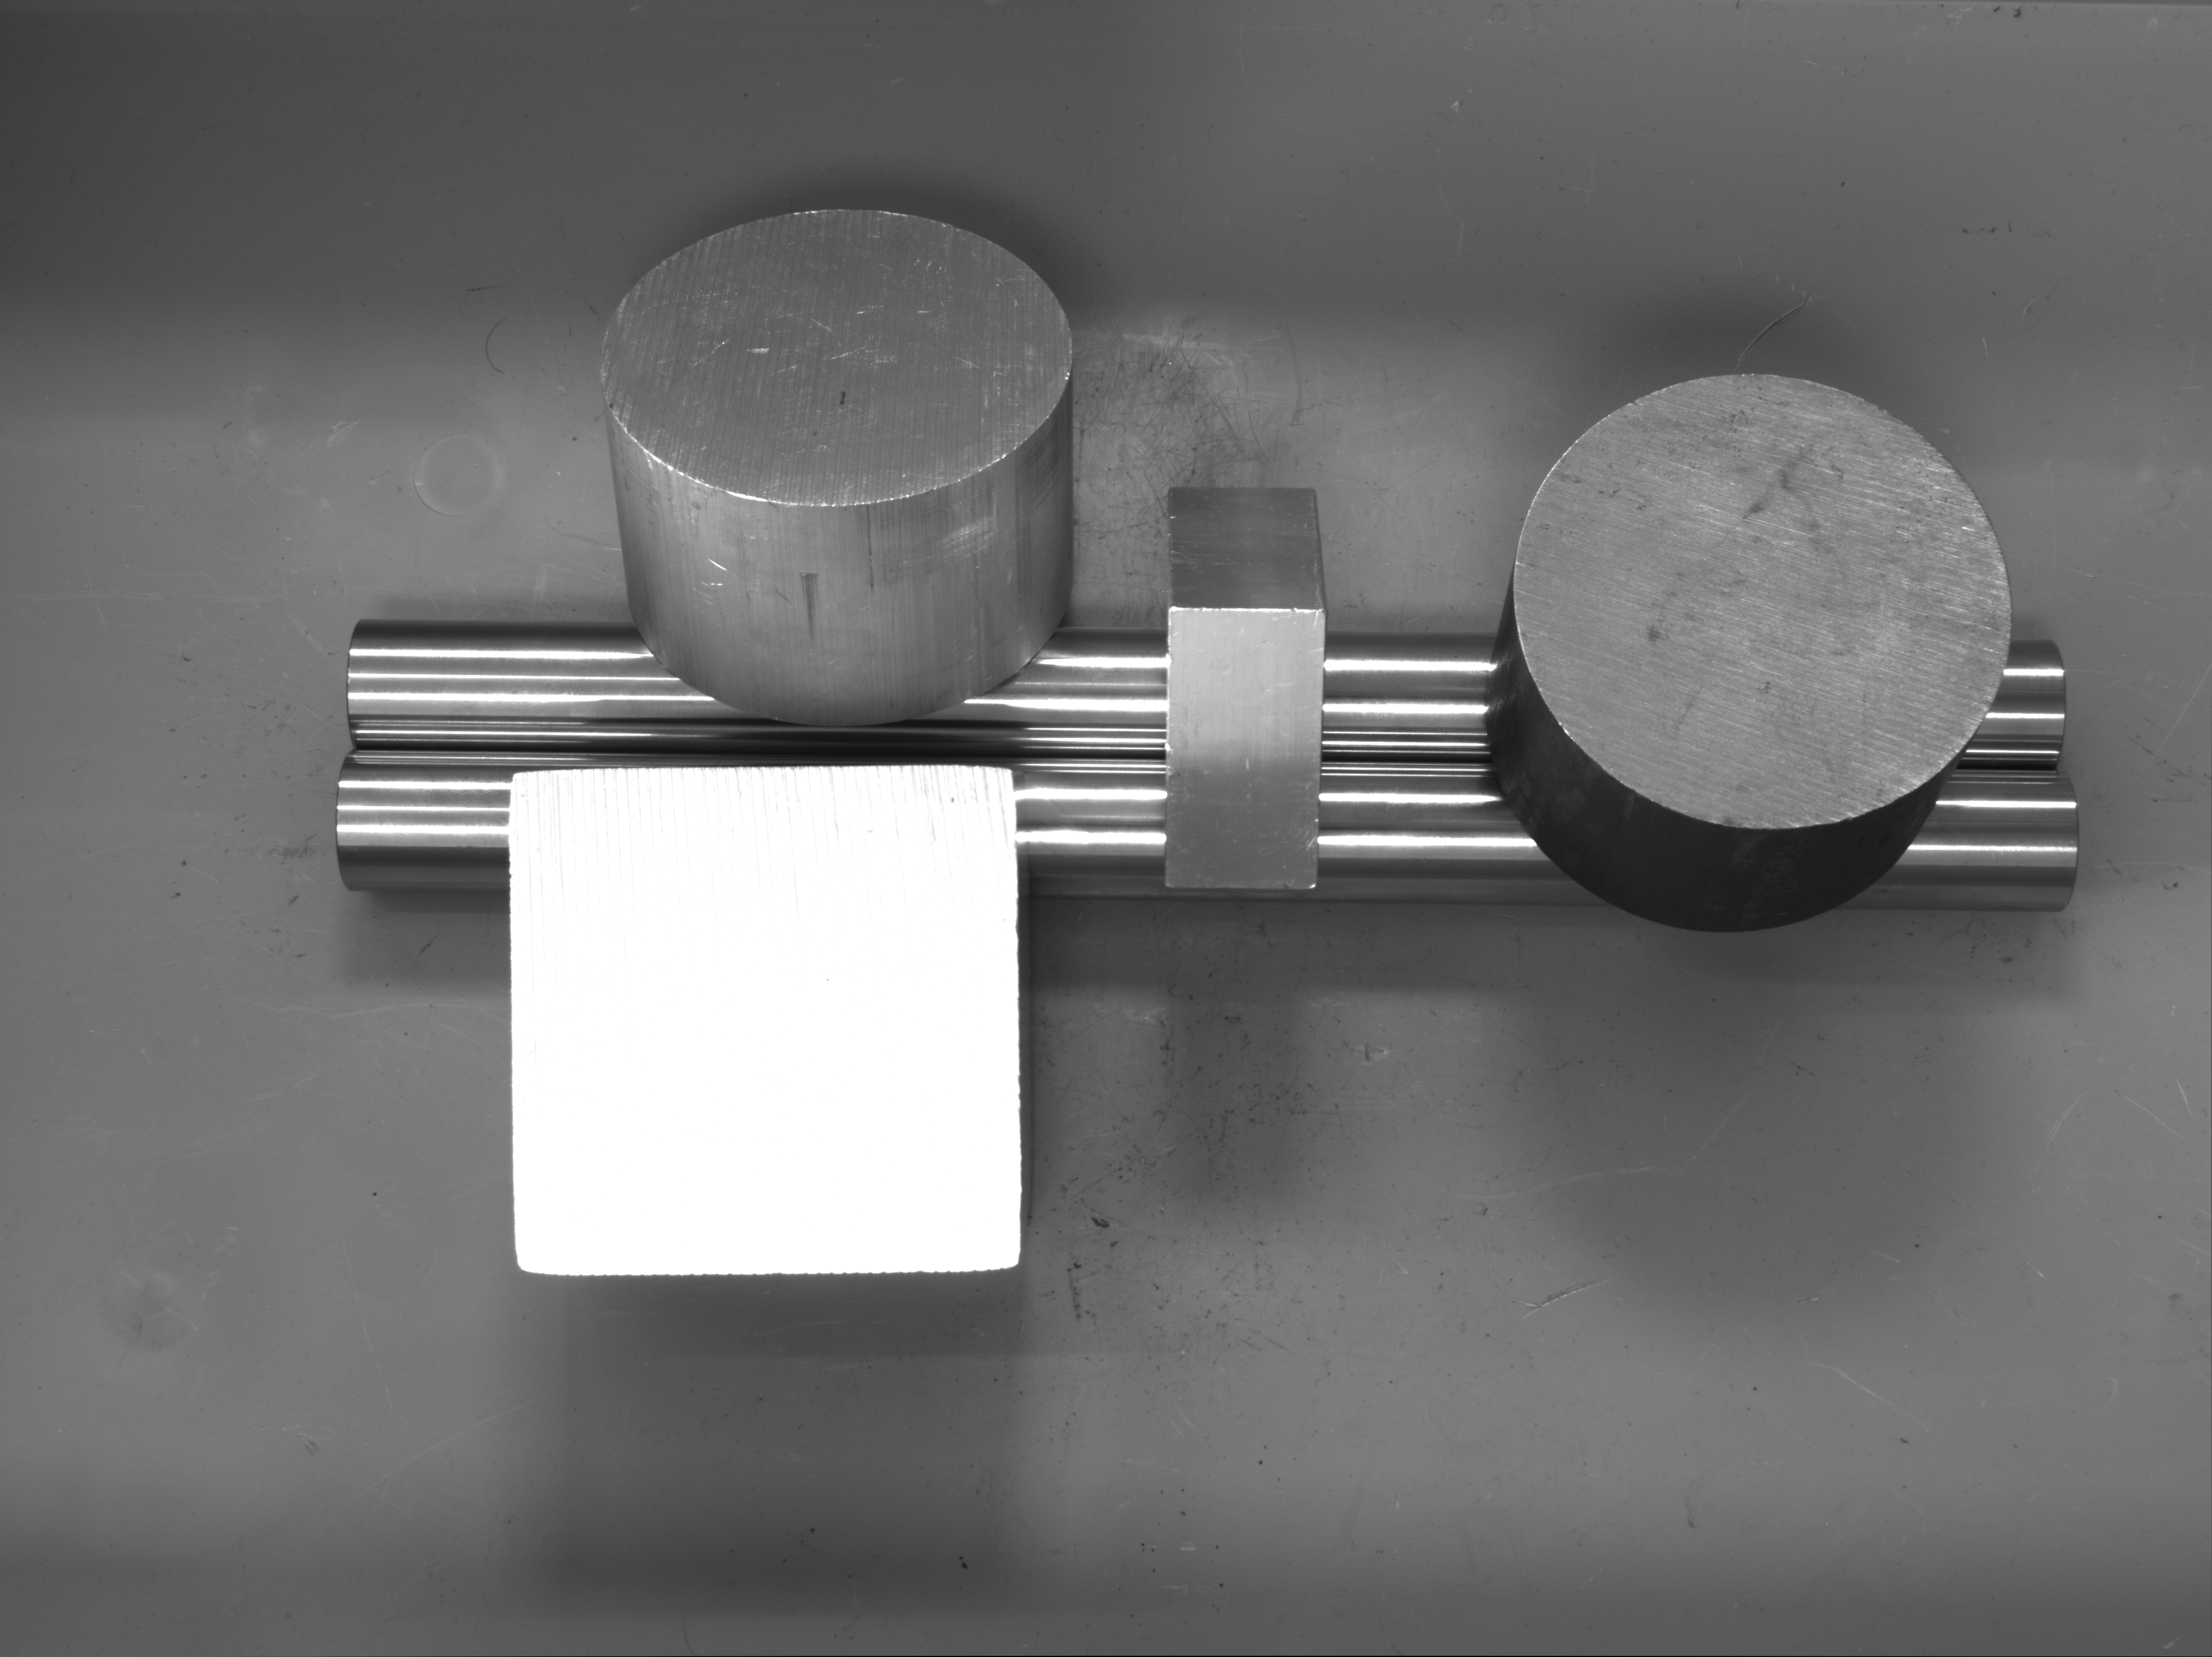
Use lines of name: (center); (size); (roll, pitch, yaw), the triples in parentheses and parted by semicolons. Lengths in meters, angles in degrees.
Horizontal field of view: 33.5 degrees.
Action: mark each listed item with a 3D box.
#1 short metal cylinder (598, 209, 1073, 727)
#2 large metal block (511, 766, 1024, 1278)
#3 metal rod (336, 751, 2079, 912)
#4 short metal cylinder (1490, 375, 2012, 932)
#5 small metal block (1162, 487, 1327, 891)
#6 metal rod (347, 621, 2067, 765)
short metal cylinder: (-0.046, -0.063, 0.639); (0.080, 0.050, 0.080); (0, 46, 0)
large metal block: (-0.054, 0.031, 0.605); (0.080, 0.050, 0.080); (-1, 90, 0)
metal rod: (0.017, 0.001, 0.644); (0.300, 0.025, 0.025); (1, 70, 0)
short metal cylinder: (0.106, -0.029, 0.615); (0.080, 0.050, 0.080); (0, 70, 0)
small metal block: (0.022, -0.024, 0.610); (0.025, 0.050, 0.050); (1, 28, 0)
metal rod: (0.018, -0.023, 0.653); (0.300, 0.025, 0.025); (1, 70, 0)
